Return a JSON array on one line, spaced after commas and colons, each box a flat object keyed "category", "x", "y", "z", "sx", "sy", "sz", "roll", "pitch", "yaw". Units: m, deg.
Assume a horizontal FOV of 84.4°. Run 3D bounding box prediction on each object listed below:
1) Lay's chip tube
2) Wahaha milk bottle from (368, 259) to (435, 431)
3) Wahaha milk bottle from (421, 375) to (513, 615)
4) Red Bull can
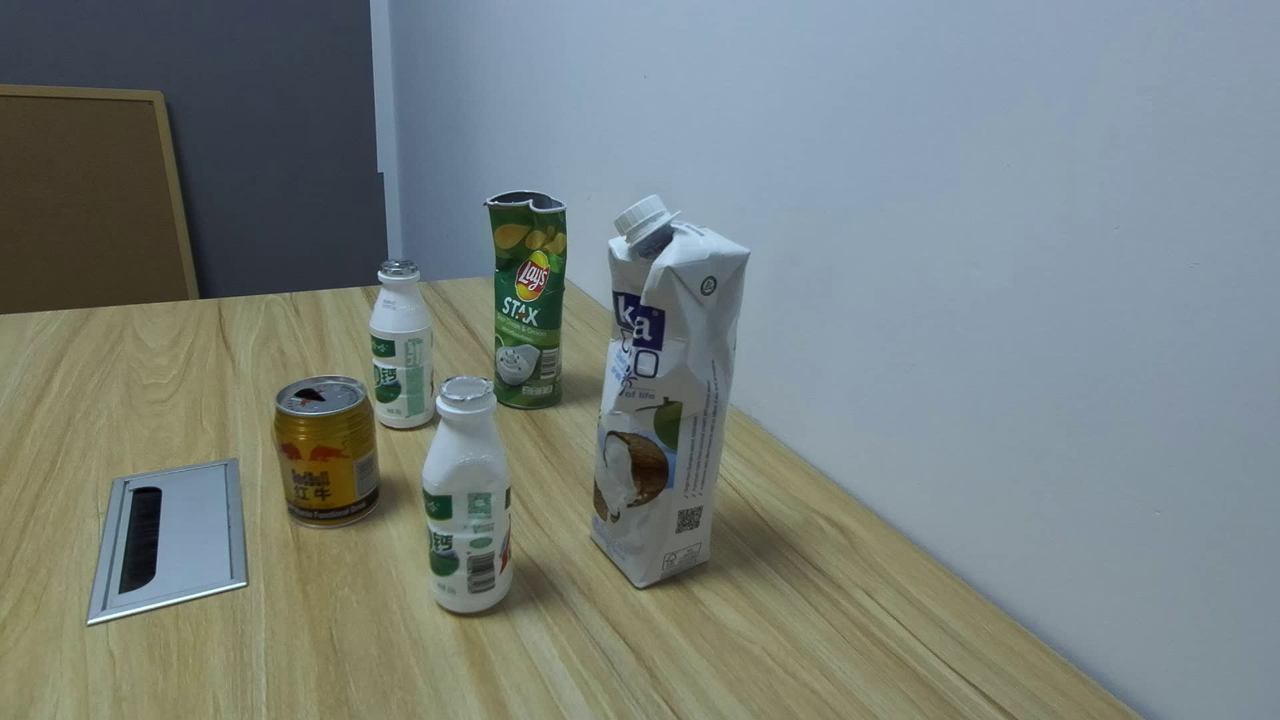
[{"category": "Lay's chip tube", "x": -0.105, "y": -0.056, "z": 0.671, "sx": 0.077, "sy": 0.201, "sz": 0.069, "roll": 2, "pitch": 24, "yaw": -1}, {"category": "Wahaha milk bottle", "x": -0.209, "y": -0.014, "z": 0.624, "sx": 0.053, "sy": 0.147, "sz": 0.053, "roll": 4, "pitch": 25, "yaw": -1}, {"category": "Wahaha milk bottle", "x": -0.104, "y": 0.081, "z": 0.429, "sx": 0.055, "sy": 0.149, "sz": 0.055, "roll": 3, "pitch": 25, "yaw": -1}, {"category": "Red Bull can", "x": -0.223, "y": 0.065, "z": 0.508, "sx": 0.067, "sy": 0.093, "sz": 0.067, "roll": 4, "pitch": 25, "yaw": -1}]
